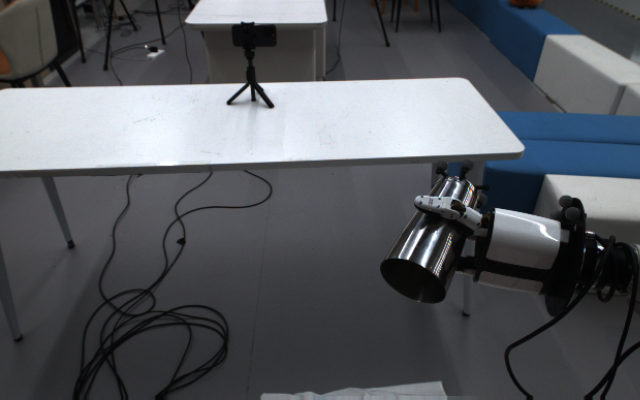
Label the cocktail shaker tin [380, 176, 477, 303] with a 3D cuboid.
[{"bbox_3d":[0.163,0.042,0.667,0.093,0.093,0.170,19,55,22],"label":"cocktail shaker tin"}]
